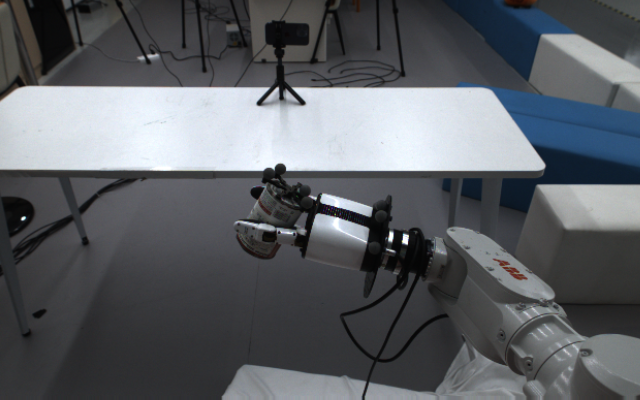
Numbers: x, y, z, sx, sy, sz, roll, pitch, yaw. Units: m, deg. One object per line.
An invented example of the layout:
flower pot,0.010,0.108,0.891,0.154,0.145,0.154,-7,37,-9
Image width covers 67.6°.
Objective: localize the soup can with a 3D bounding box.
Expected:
soup can,-0.072,0.031,0.726,0.067,0.101,0.067,28,22,-12
